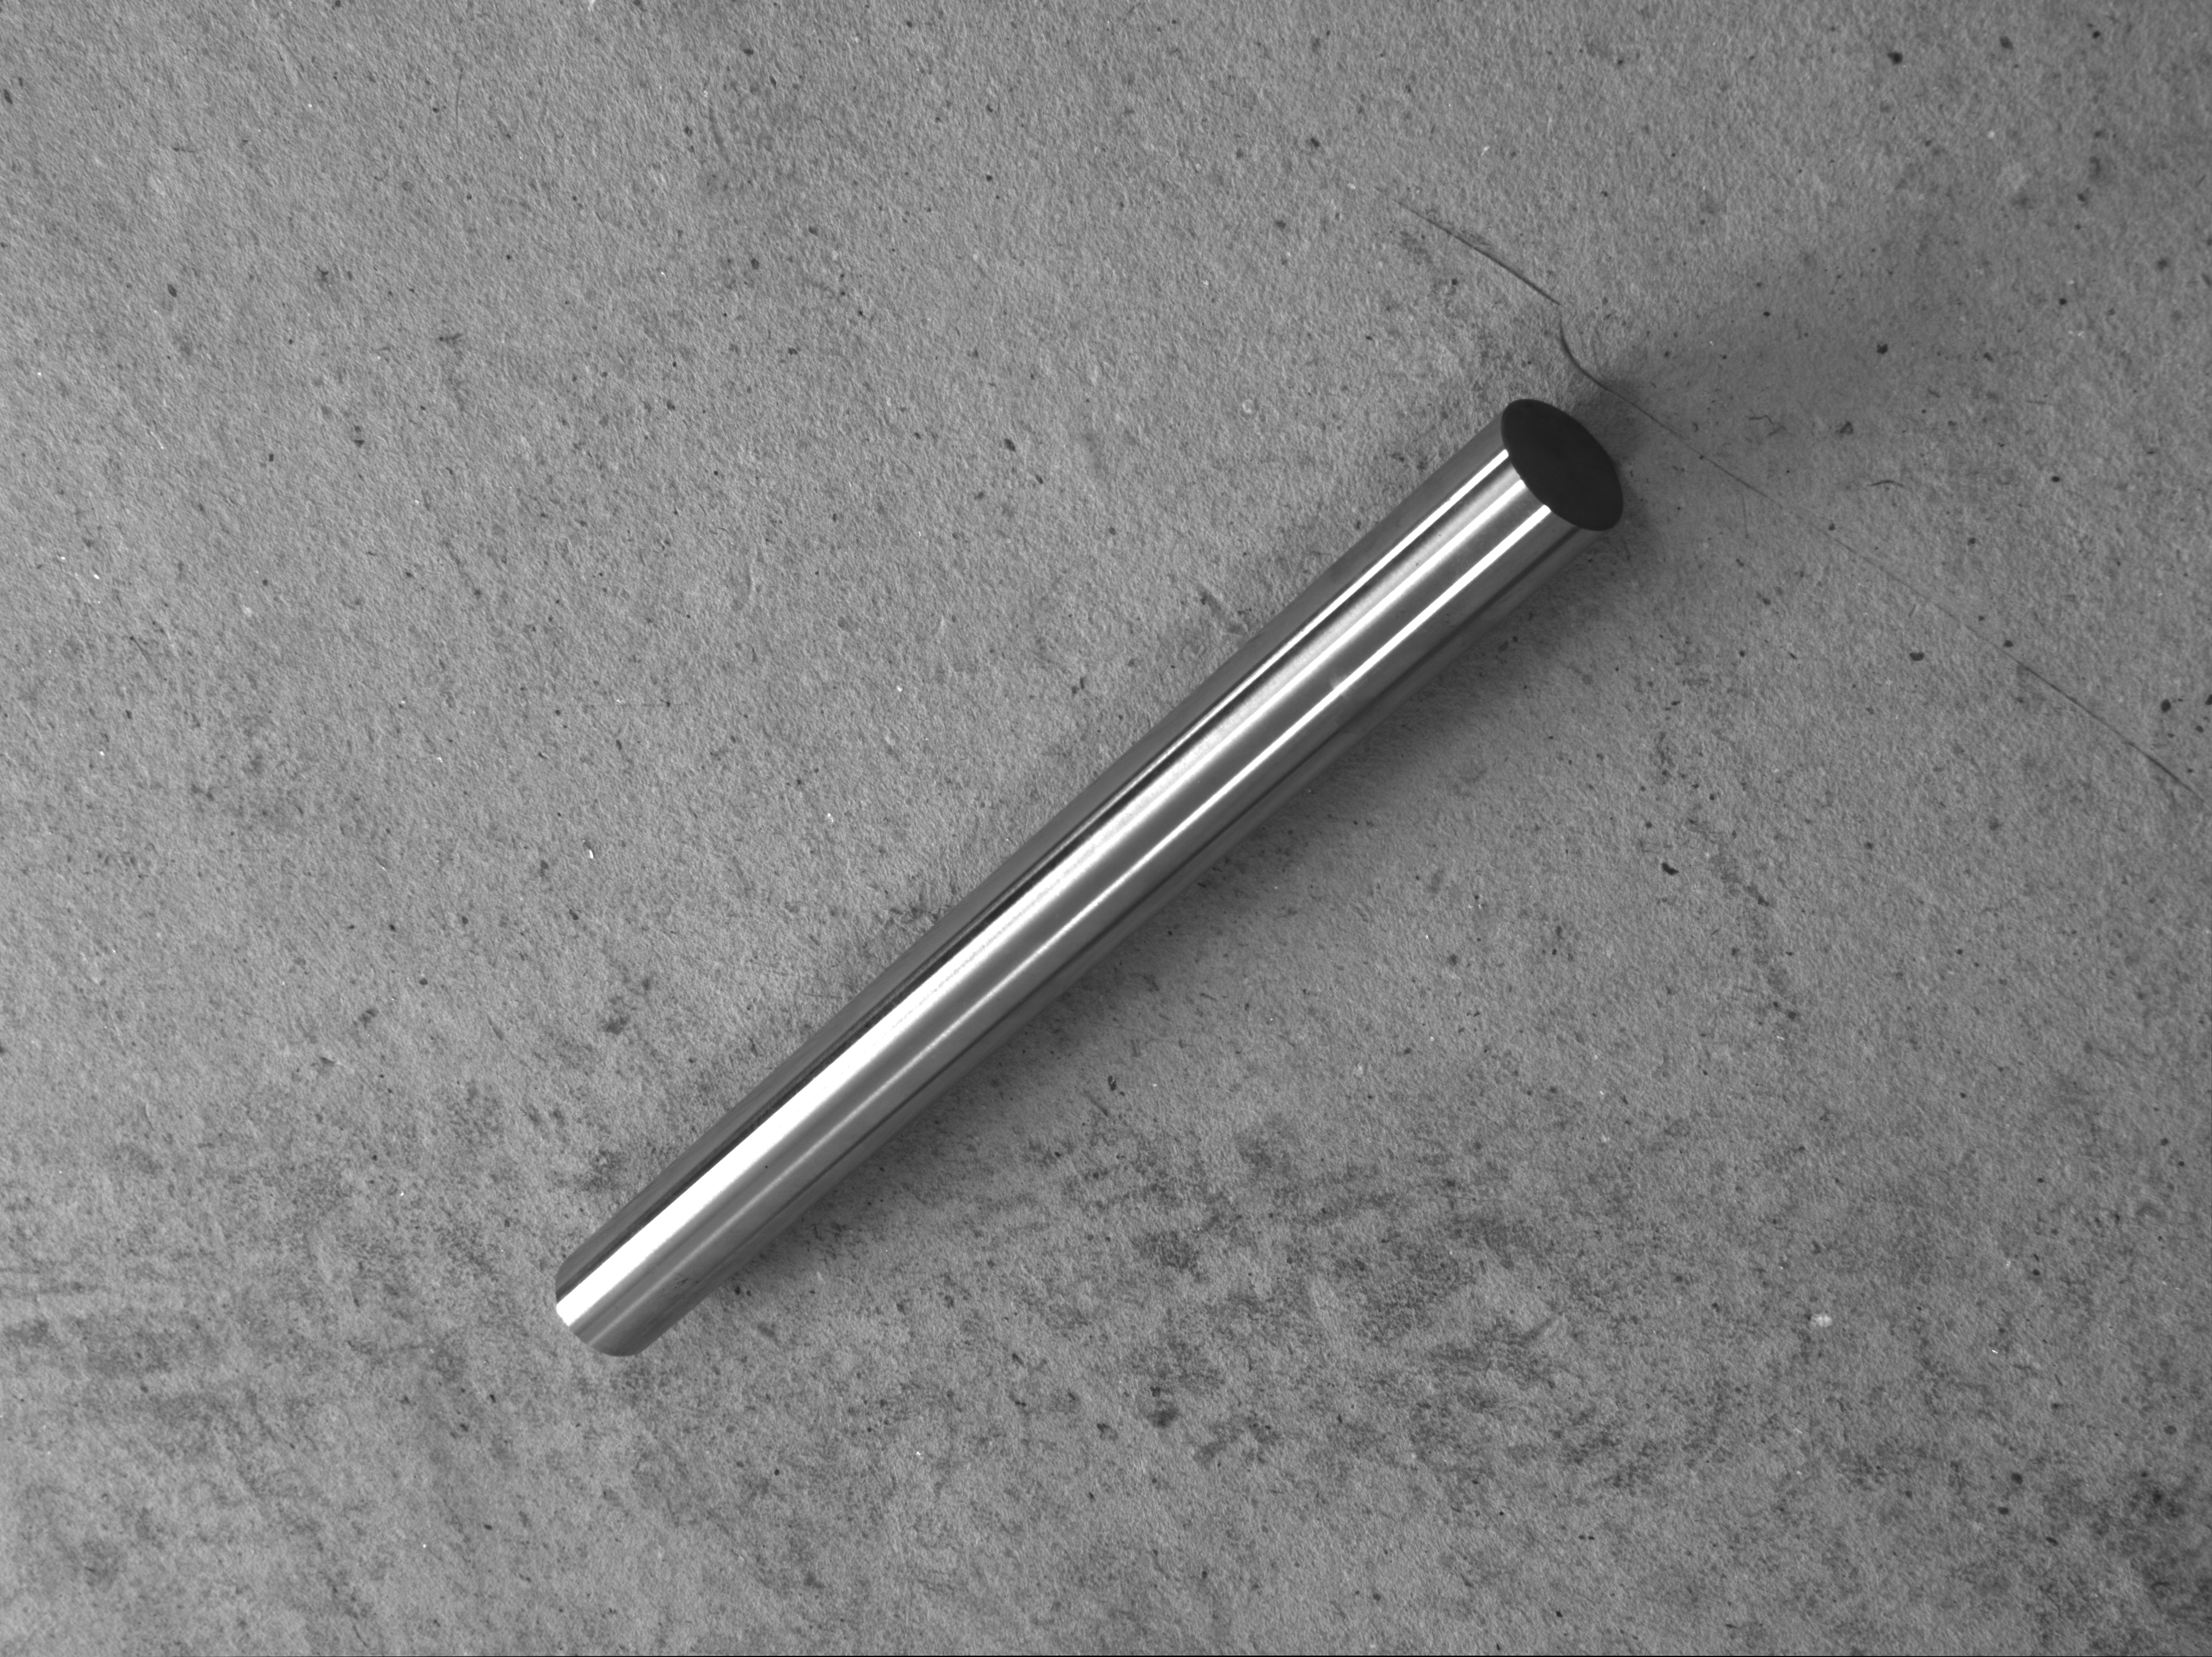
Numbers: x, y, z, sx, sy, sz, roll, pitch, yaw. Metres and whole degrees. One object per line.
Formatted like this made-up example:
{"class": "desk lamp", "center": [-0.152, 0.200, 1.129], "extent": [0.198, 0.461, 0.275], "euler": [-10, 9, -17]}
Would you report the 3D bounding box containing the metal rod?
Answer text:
{"class": "metal rod", "center": [-0.016, 0.021, 0.665], "extent": [0.025, 0.025, 0.299], "euler": [46, 129, -3]}
